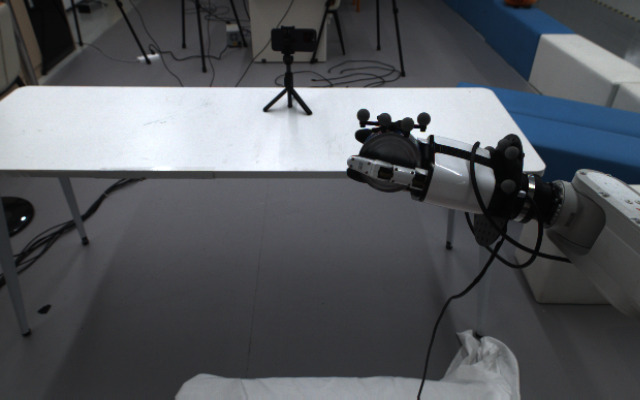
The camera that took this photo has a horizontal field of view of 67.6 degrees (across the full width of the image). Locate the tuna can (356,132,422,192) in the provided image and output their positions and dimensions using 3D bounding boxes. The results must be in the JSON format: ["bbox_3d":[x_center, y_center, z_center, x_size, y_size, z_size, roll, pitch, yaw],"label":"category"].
[{"bbox_3d":[0.097,-0.057,0.667,0.085,0.085,0.034,9,23,10],"label":"tuna can"}]
